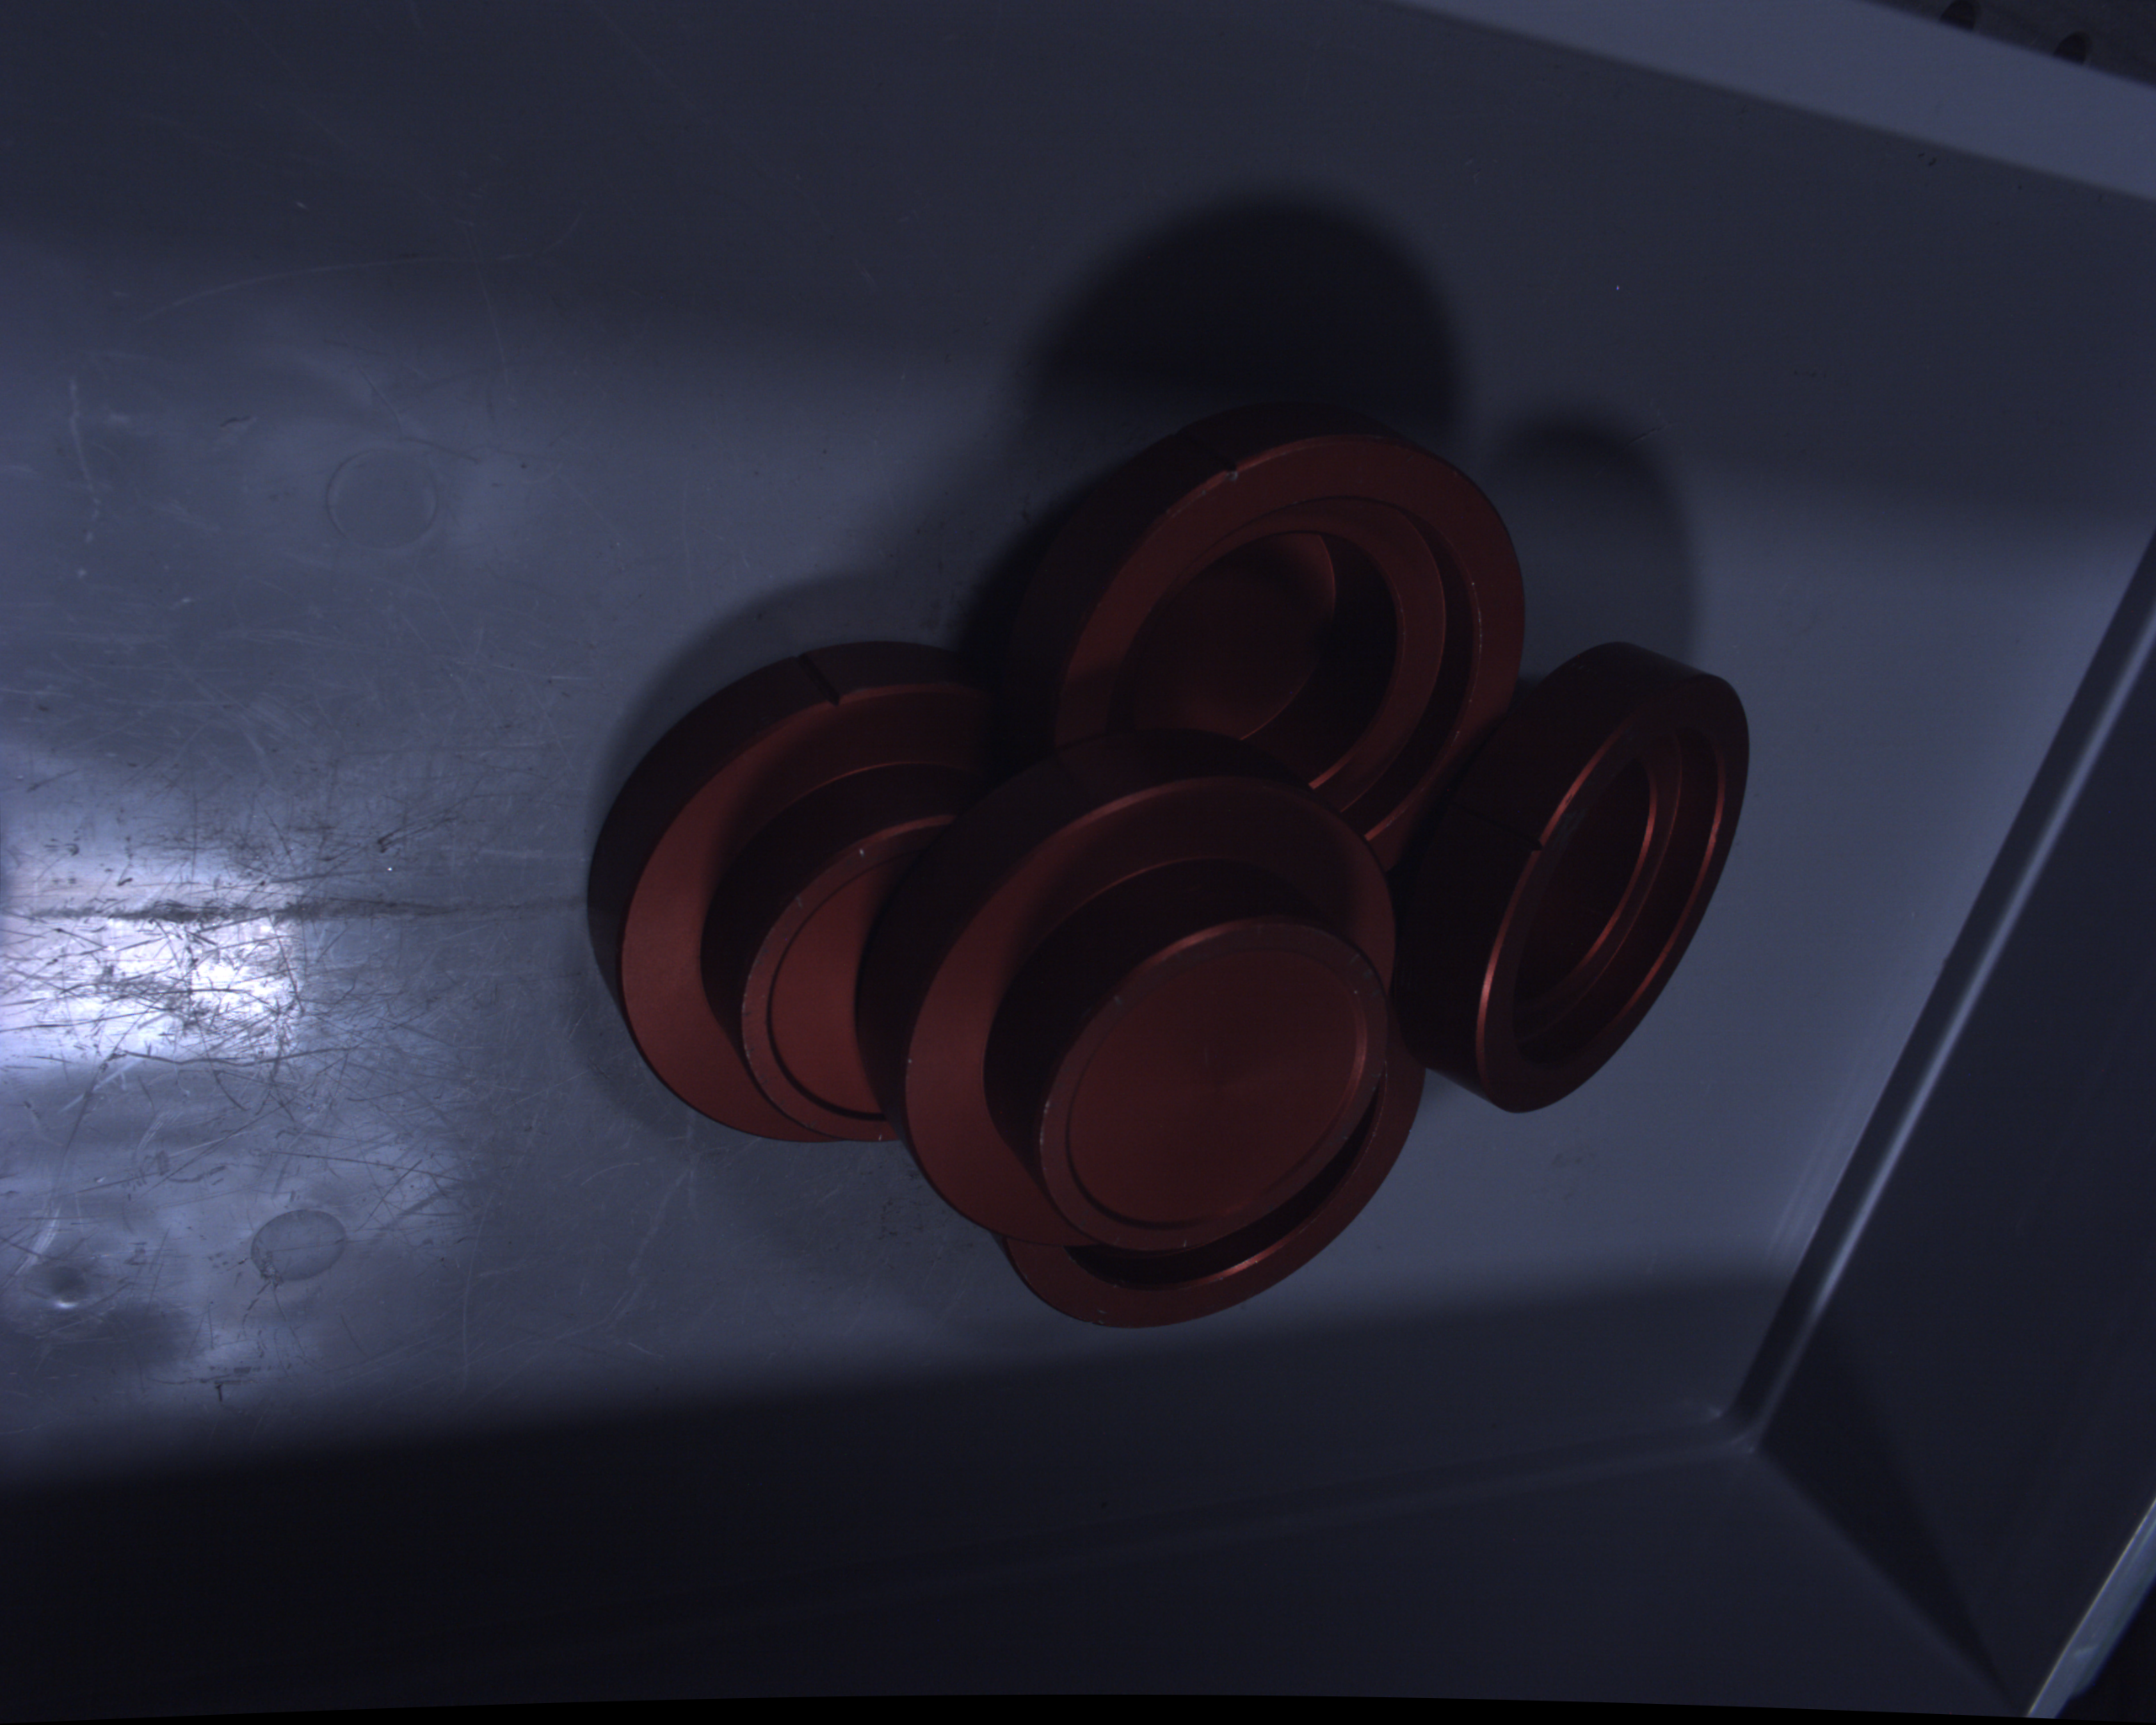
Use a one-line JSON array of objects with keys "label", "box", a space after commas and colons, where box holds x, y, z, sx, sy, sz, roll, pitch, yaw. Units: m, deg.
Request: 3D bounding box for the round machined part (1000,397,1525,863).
[{"label": "round machined part", "box": [0.030, -0.040, 0.389, 0.099, 0.042, 0.097, -14, 125, -21]}]

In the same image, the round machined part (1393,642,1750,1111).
[{"label": "round machined part", "box": [0.095, -0.001, 0.435, 0.099, 0.042, 0.097, -30, 135, -35]}]

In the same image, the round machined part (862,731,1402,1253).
[{"label": "round machined part", "box": [0.015, 0.029, 0.367, 0.099, 0.042, 0.097, -14, 125, -21]}]

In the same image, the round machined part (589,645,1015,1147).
[{"label": "round machined part", "box": [-0.036, 0.013, 0.383, 0.099, 0.042, 0.097, -14, 125, -21]}]

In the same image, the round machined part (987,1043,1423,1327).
[{"label": "round machined part", "box": [0.020, 0.046, 0.436, 0.099, 0.042, 0.097, -14, 125, -21]}]
